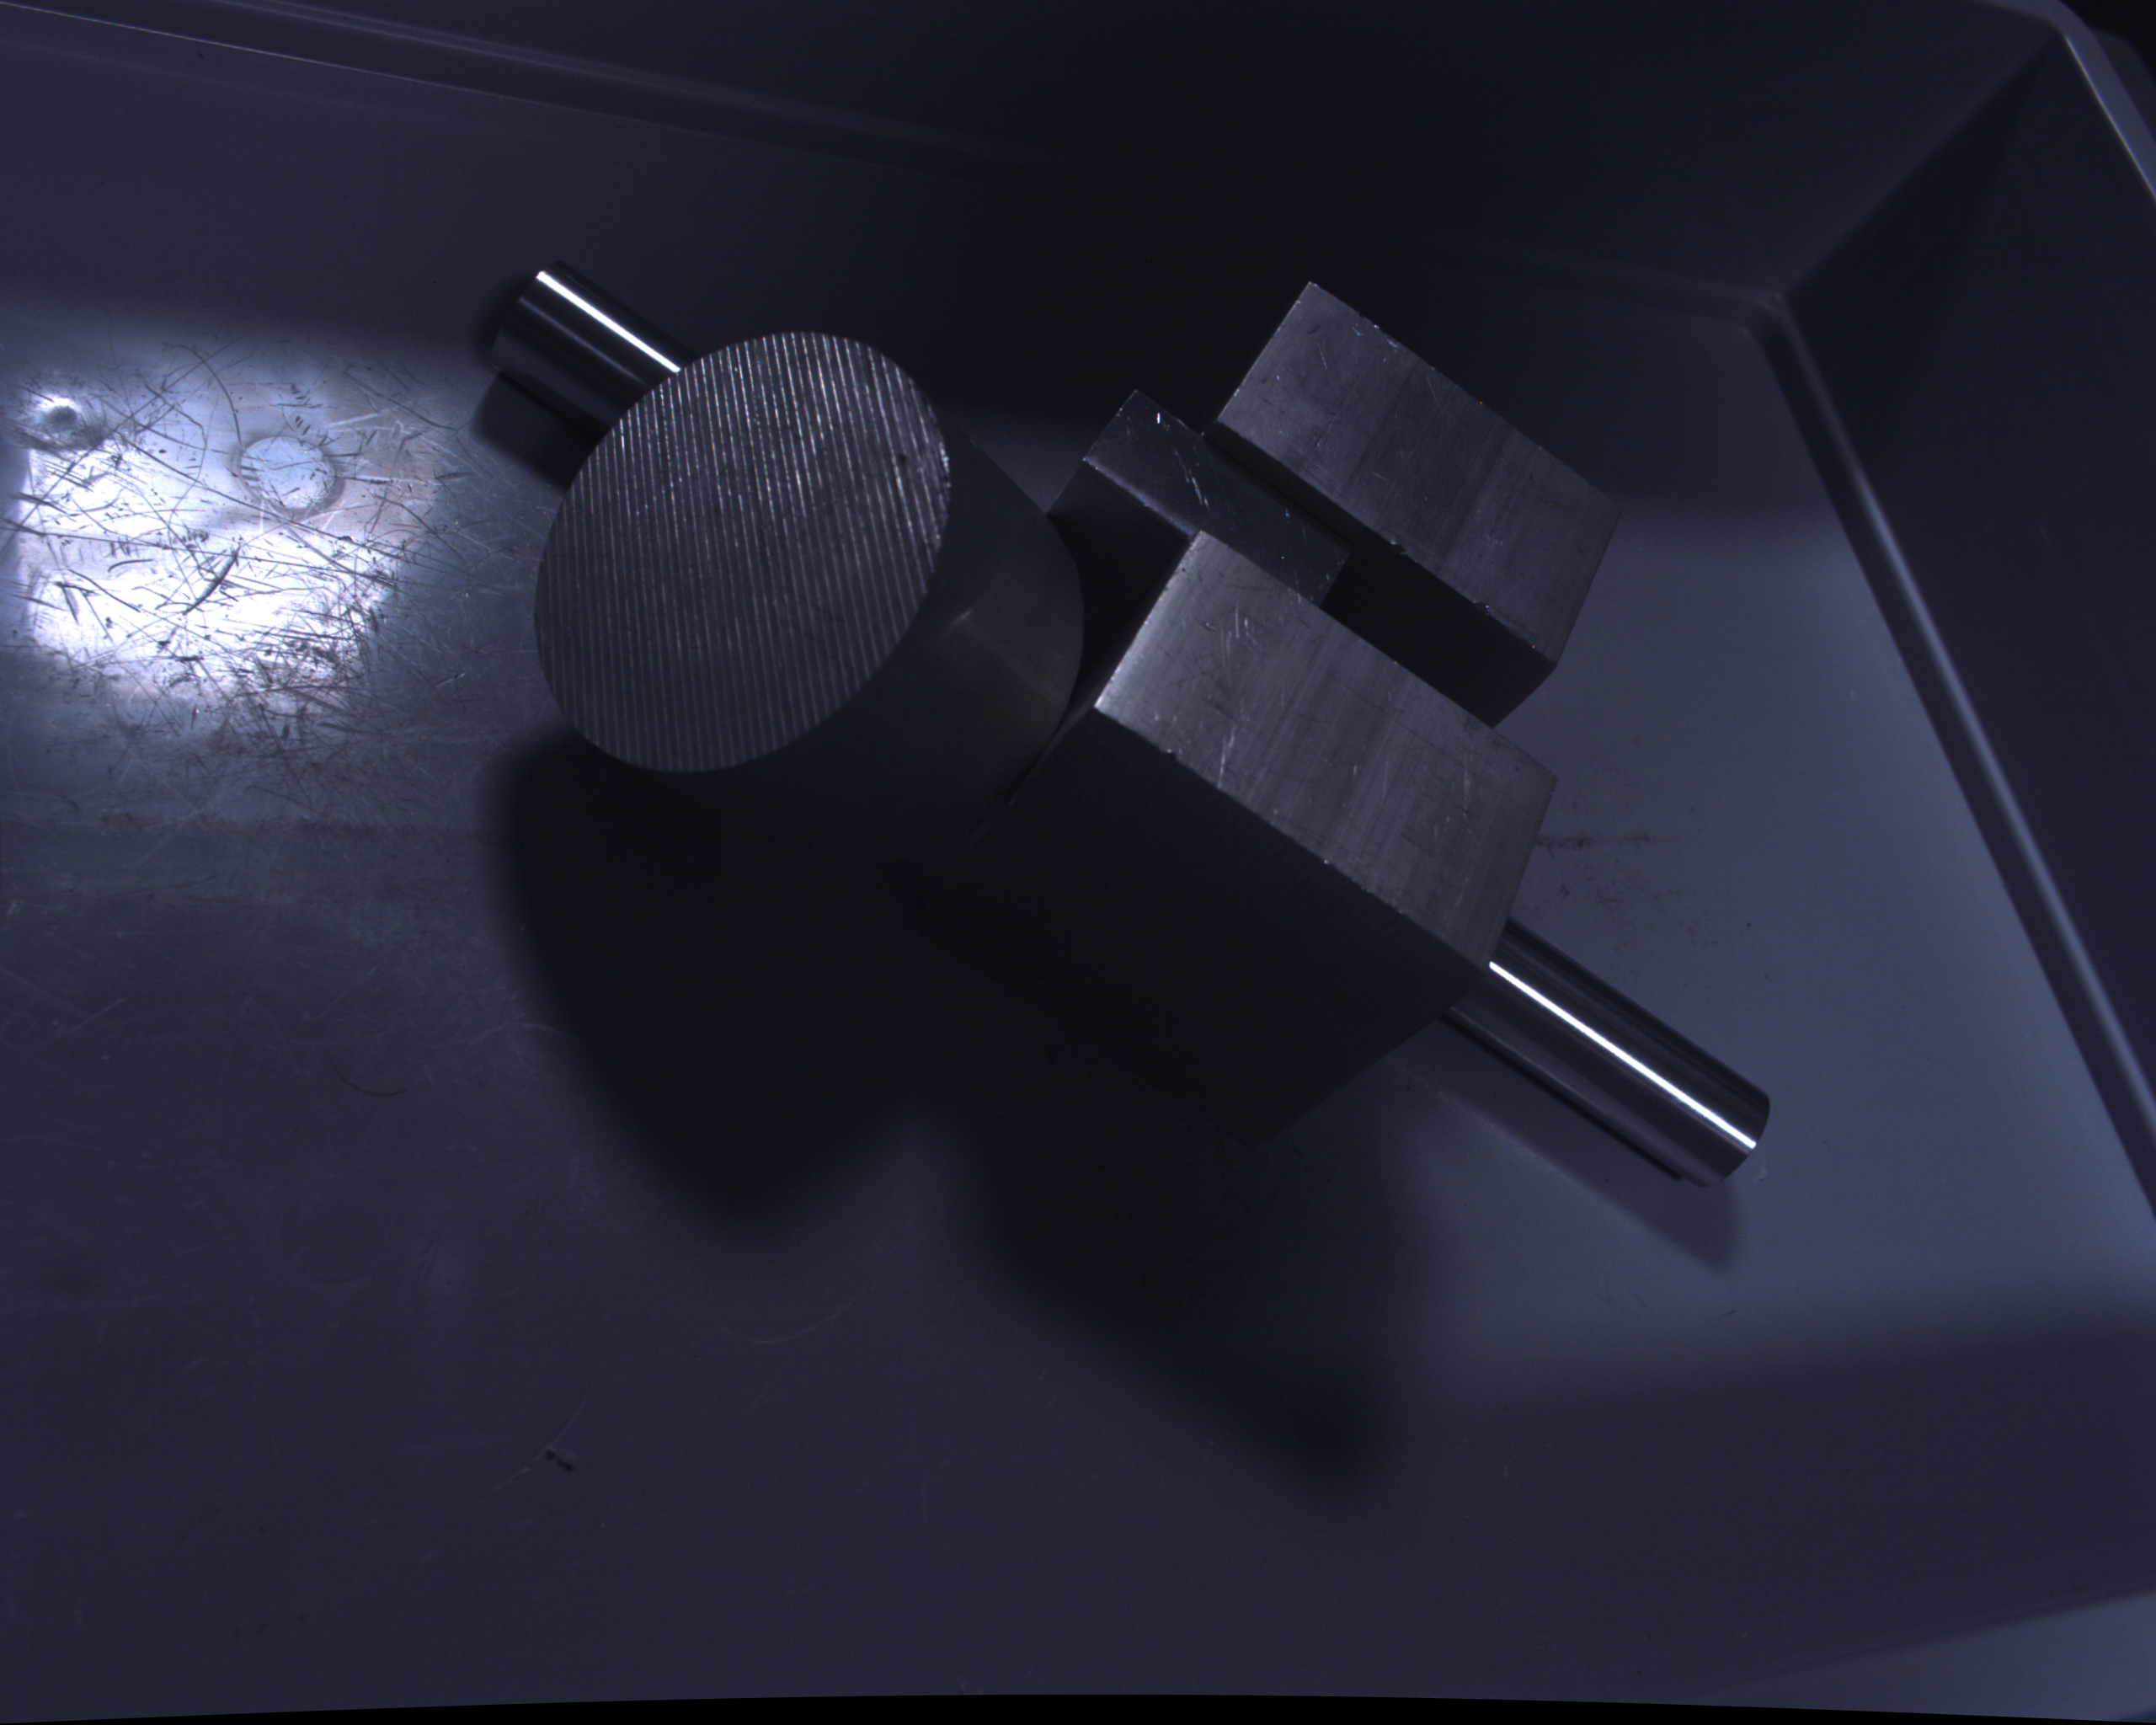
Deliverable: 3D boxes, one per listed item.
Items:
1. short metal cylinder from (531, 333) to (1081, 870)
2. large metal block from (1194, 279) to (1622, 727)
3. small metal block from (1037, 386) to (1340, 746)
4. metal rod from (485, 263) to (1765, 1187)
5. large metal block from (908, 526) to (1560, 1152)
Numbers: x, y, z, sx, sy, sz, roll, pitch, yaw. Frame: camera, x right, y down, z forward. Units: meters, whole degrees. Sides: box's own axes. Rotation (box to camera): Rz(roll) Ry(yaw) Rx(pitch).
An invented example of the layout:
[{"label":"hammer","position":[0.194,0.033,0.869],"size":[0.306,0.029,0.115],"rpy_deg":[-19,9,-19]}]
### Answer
[{"label":"short metal cylinder","position":[-0.047,-0.044,0.364],"size":[0.050,0.080,0.080],"rpy_deg":[37,35,-59]},{"label":"large metal block","position":[0.051,-0.058,0.435],"size":[0.080,0.080,0.050],"rpy_deg":[35,51,-6]},{"label":"small metal block","position":[0.013,-0.054,0.400],"size":[0.050,0.050,0.025],"rpy_deg":[35,51,-5]},{"label":"metal rod","position":[0.014,-0.025,0.429],"size":[0.301,0.025,0.025],"rpy_deg":[34,51,-6]},{"label":"large metal block","position":[0.027,-0.001,0.386],"size":[0.080,0.080,0.050],"rpy_deg":[34,51,-6]}]
